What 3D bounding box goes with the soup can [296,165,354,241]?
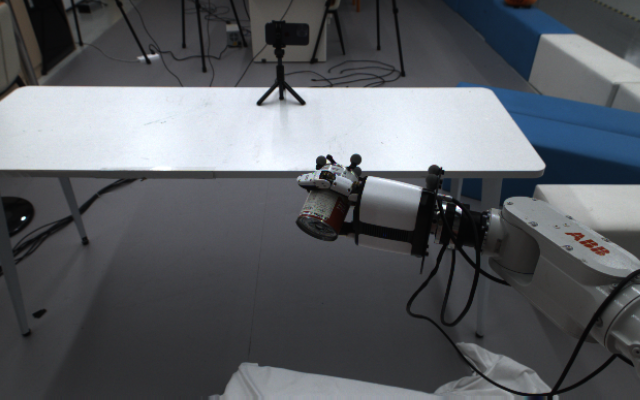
[{"bbox_3d":[0.014,0.003,0.741,0.067,0.067,0.101,15,63,18],"label":"soup can"}]
